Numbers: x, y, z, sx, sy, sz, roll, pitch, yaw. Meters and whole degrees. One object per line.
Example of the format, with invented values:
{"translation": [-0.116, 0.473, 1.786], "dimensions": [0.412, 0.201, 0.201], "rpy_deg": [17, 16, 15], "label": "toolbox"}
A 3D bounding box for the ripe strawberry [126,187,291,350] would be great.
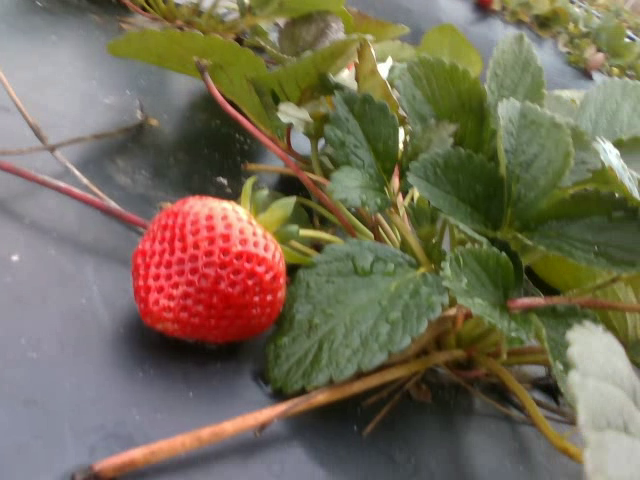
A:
{"translation": [-0.041, 0.008, 0.212], "dimensions": [0.061, 0.065, 0.049], "rpy_deg": [41, -28, -4], "label": "ripe strawberry"}
